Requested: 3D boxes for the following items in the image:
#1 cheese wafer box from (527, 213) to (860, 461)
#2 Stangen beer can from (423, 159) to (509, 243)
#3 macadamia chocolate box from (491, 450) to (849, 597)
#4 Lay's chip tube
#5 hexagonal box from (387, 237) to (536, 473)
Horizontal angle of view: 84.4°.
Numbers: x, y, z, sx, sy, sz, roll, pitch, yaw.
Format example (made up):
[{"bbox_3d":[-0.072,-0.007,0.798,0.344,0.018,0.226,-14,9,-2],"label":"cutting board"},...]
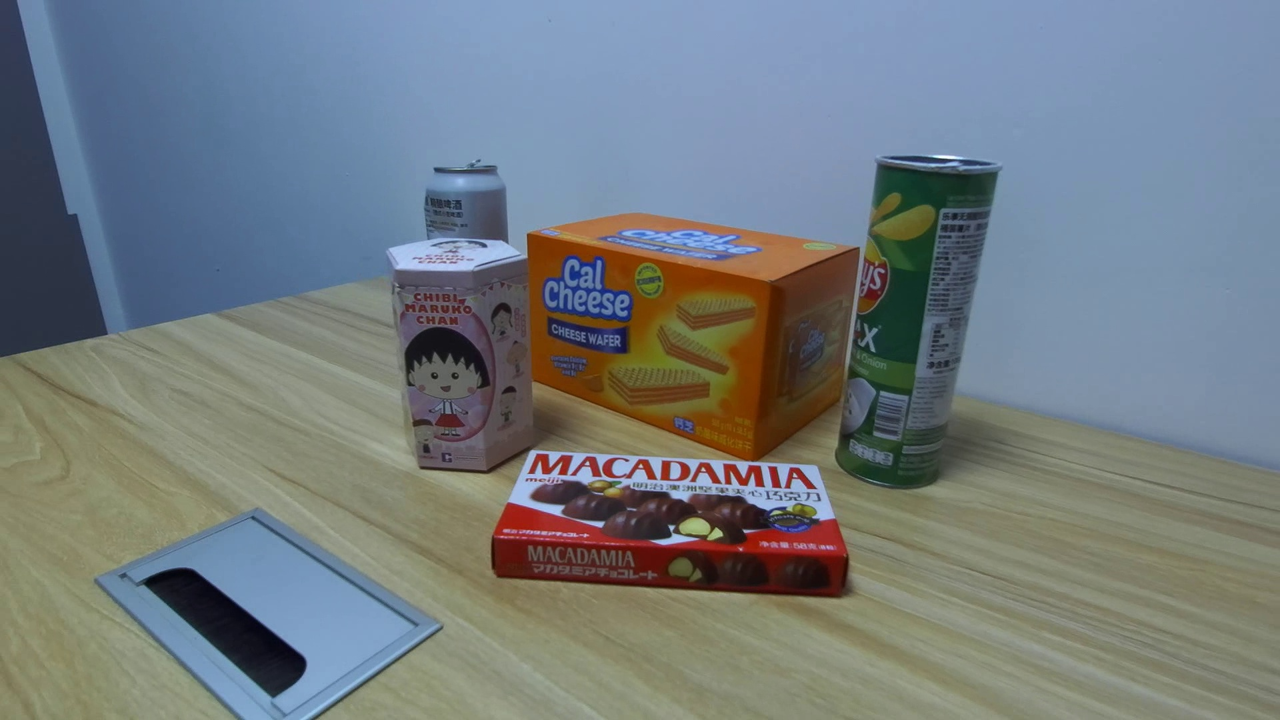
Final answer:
[{"bbox_3d":[0.038,-0.033,0.567,0.221,0.129,0.149,17,26,34],"label":"cheese wafer box"},{"bbox_3d":[-0.152,-0.091,0.637,0.070,0.173,0.070,10,21,20],"label":"Stangen beer can"},{"bbox_3d":[0.017,0.087,0.394,0.178,0.027,0.095,3,20,4],"label":"macadamia chocolate box"},{"bbox_3d":[0.171,-0.023,0.445,0.071,0.202,0.071,1,21,0],"label":"Lay's chip tube"},{"bbox_3d":[-0.117,-0.004,0.468,0.091,0.136,0.084,3,21,3],"label":"hexagonal box"}]
